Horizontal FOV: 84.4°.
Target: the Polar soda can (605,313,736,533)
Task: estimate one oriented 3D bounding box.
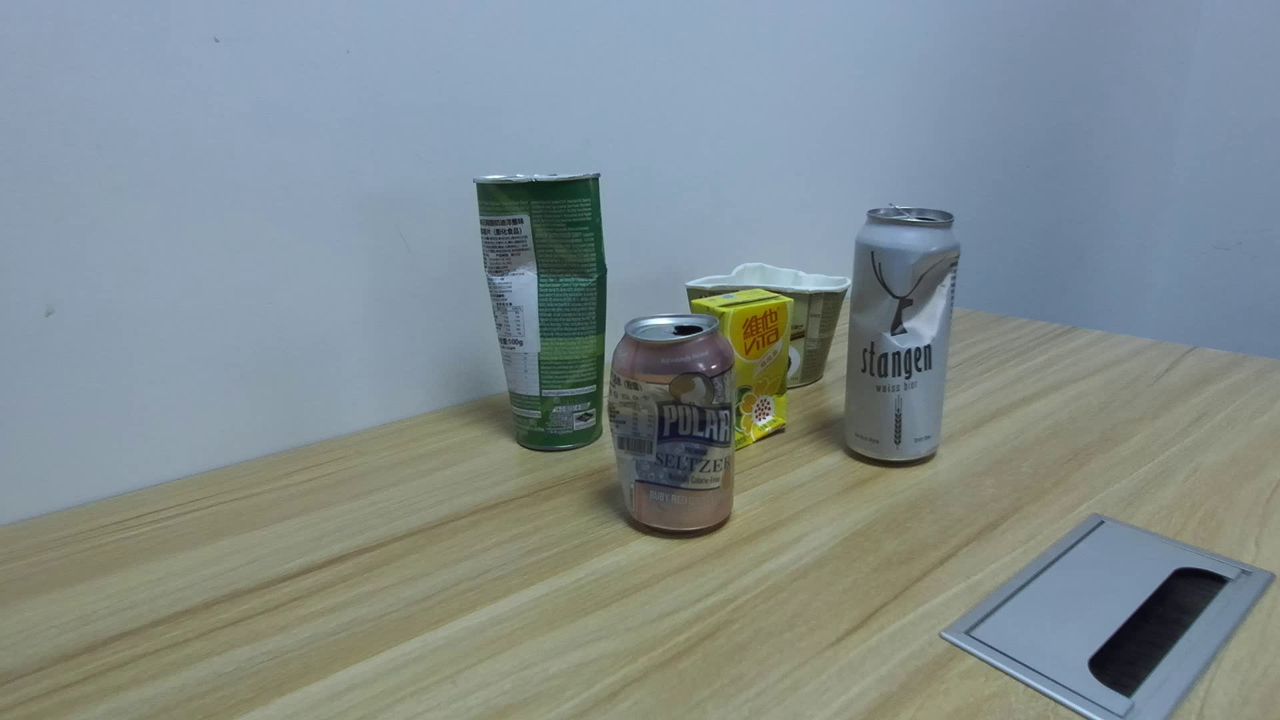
[{"bbox_3d":[0.022,0.038,0.413,0.067,0.122,0.074,-15,20,-31],"label":"Polar soda can"}]

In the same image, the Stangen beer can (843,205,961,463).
[{"bbox_3d":[0.178,-0.016,0.480,0.070,0.173,0.070,2,19,12],"label":"Stangen beer can"}]

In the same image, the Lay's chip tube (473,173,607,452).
[{"bbox_3d":[-0.068,-0.035,0.528,0.075,0.199,0.068,-12,20,-28],"label":"Lay's chip tube"}]

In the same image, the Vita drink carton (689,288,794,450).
[{"bbox_3d":[0.079,0.006,0.524,0.077,0.109,0.043,-13,21,-29],"label":"Vita drink carton"}]

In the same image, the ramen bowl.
[{"bbox_3d":[0.126,-0.033,0.659,0.133,0.097,0.114,10,22,35],"label":"ramen bowl"}]
